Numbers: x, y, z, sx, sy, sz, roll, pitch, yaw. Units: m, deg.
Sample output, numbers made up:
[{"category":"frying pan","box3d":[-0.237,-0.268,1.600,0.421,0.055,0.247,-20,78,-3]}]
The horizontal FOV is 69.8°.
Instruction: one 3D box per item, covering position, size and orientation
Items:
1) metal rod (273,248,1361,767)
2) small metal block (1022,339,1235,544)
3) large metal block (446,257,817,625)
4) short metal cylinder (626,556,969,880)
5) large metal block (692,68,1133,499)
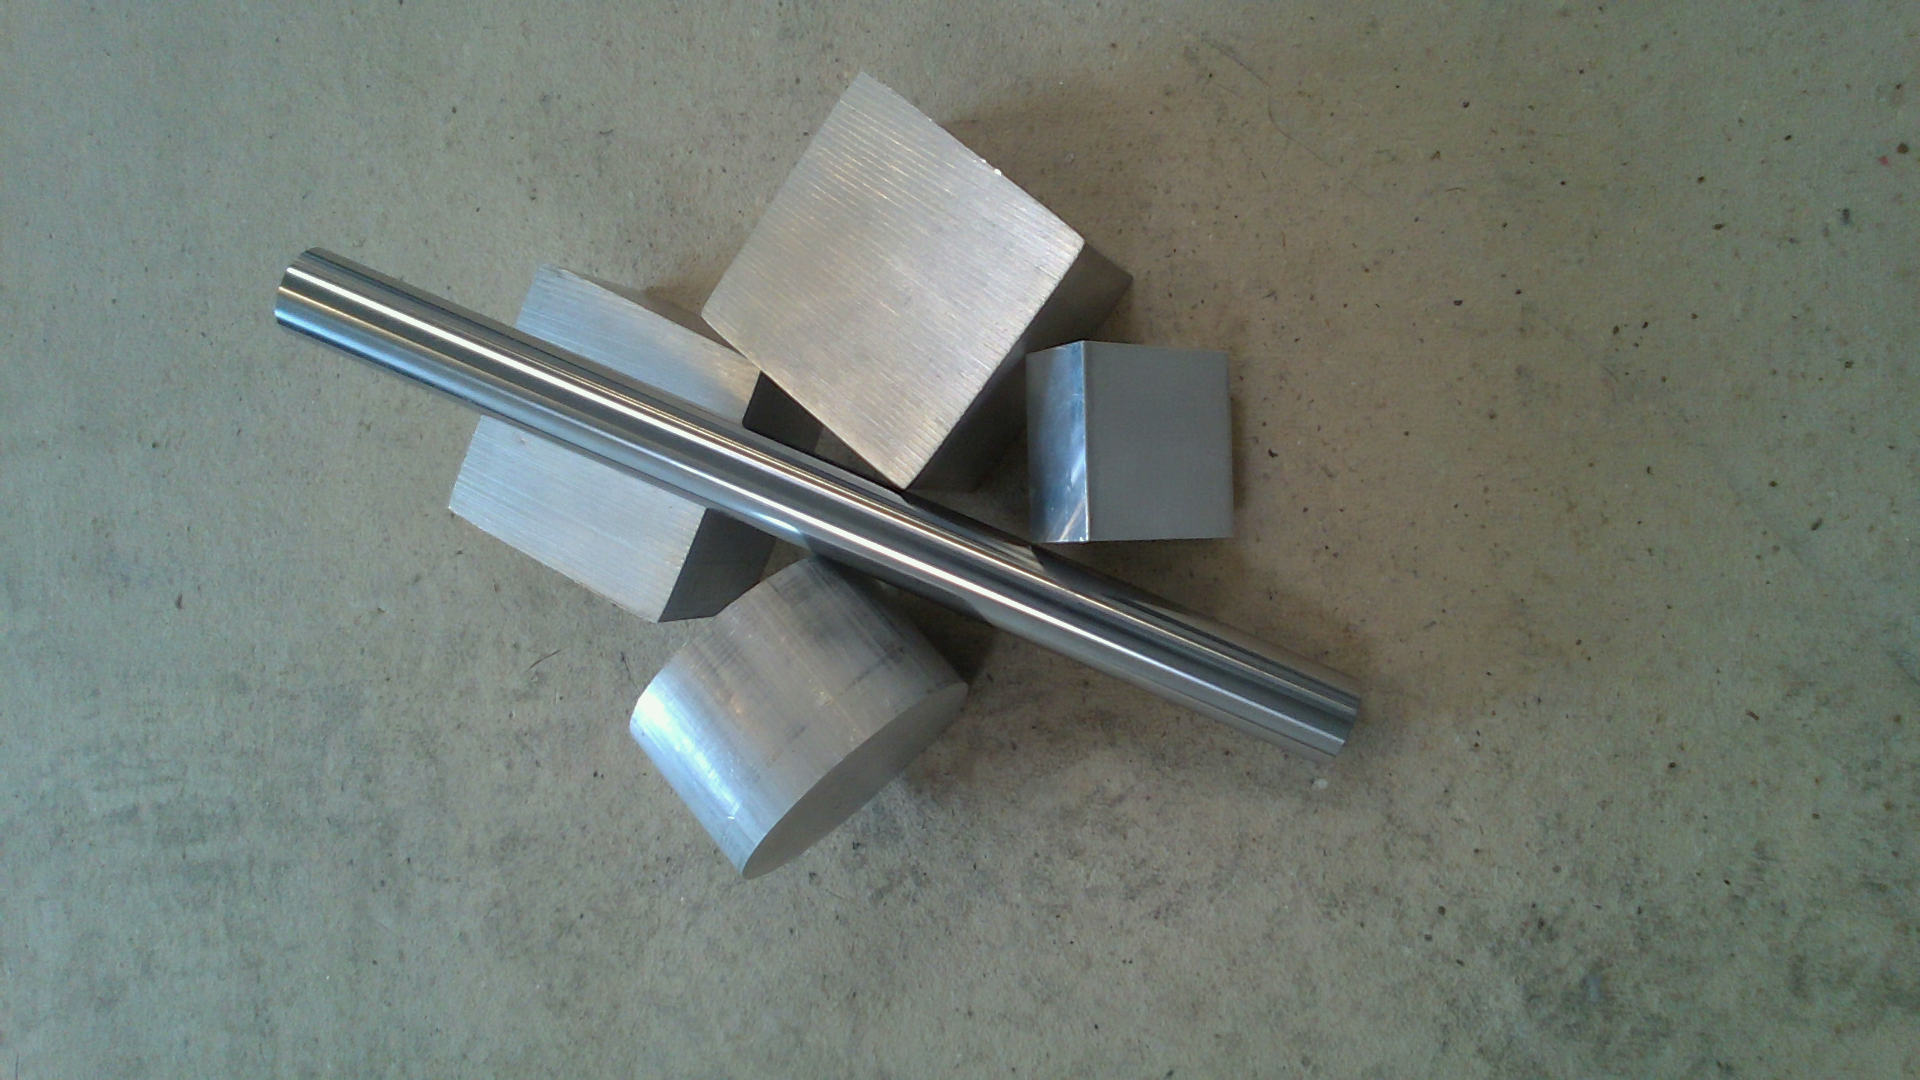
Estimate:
[{"category":"metal rod","box3d":[-0.039,-0.009,0.366,0.300,0.025,0.025,23,98,2]},{"category":"small metal block","box3d":[0.045,-0.025,0.364,0.025,0.050,0.050,-3,89,56]},{"category":"large metal block","box3d":[-0.095,-0.029,0.417,0.080,0.050,0.080,26,99,18]},{"category":"short metal cylinder","box3d":[-0.044,0.048,0.382,0.080,0.080,0.050,-46,76,14]},{"category":"large metal block","box3d":[-0.013,-0.068,0.385,0.080,0.050,0.080,41,103,15]}]
